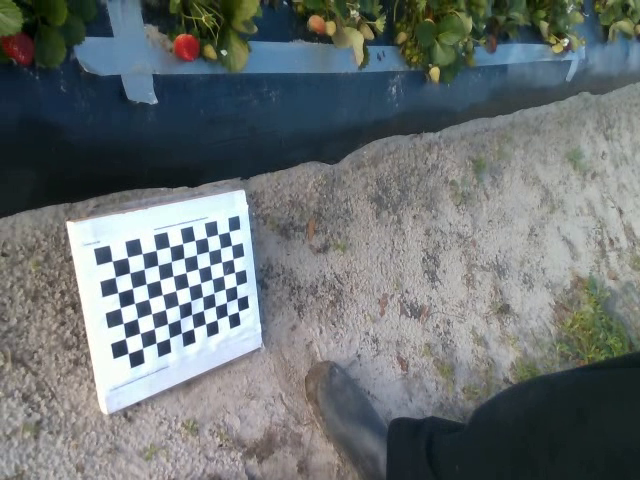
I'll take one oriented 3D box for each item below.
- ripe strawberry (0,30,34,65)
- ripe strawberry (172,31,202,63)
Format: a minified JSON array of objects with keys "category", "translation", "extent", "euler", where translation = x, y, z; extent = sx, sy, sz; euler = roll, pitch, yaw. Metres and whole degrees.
[{"category":"ripe strawberry","translation":[-0.170,-0.109,0.350],"extent":[0.018,0.022,0.021],"euler":[-22,-10,-25]},{"category":"ripe strawberry","translation":[-0.092,-0.135,0.437],"extent":[0.023,0.026,0.020],"euler":[-2,-35,-22]}]
